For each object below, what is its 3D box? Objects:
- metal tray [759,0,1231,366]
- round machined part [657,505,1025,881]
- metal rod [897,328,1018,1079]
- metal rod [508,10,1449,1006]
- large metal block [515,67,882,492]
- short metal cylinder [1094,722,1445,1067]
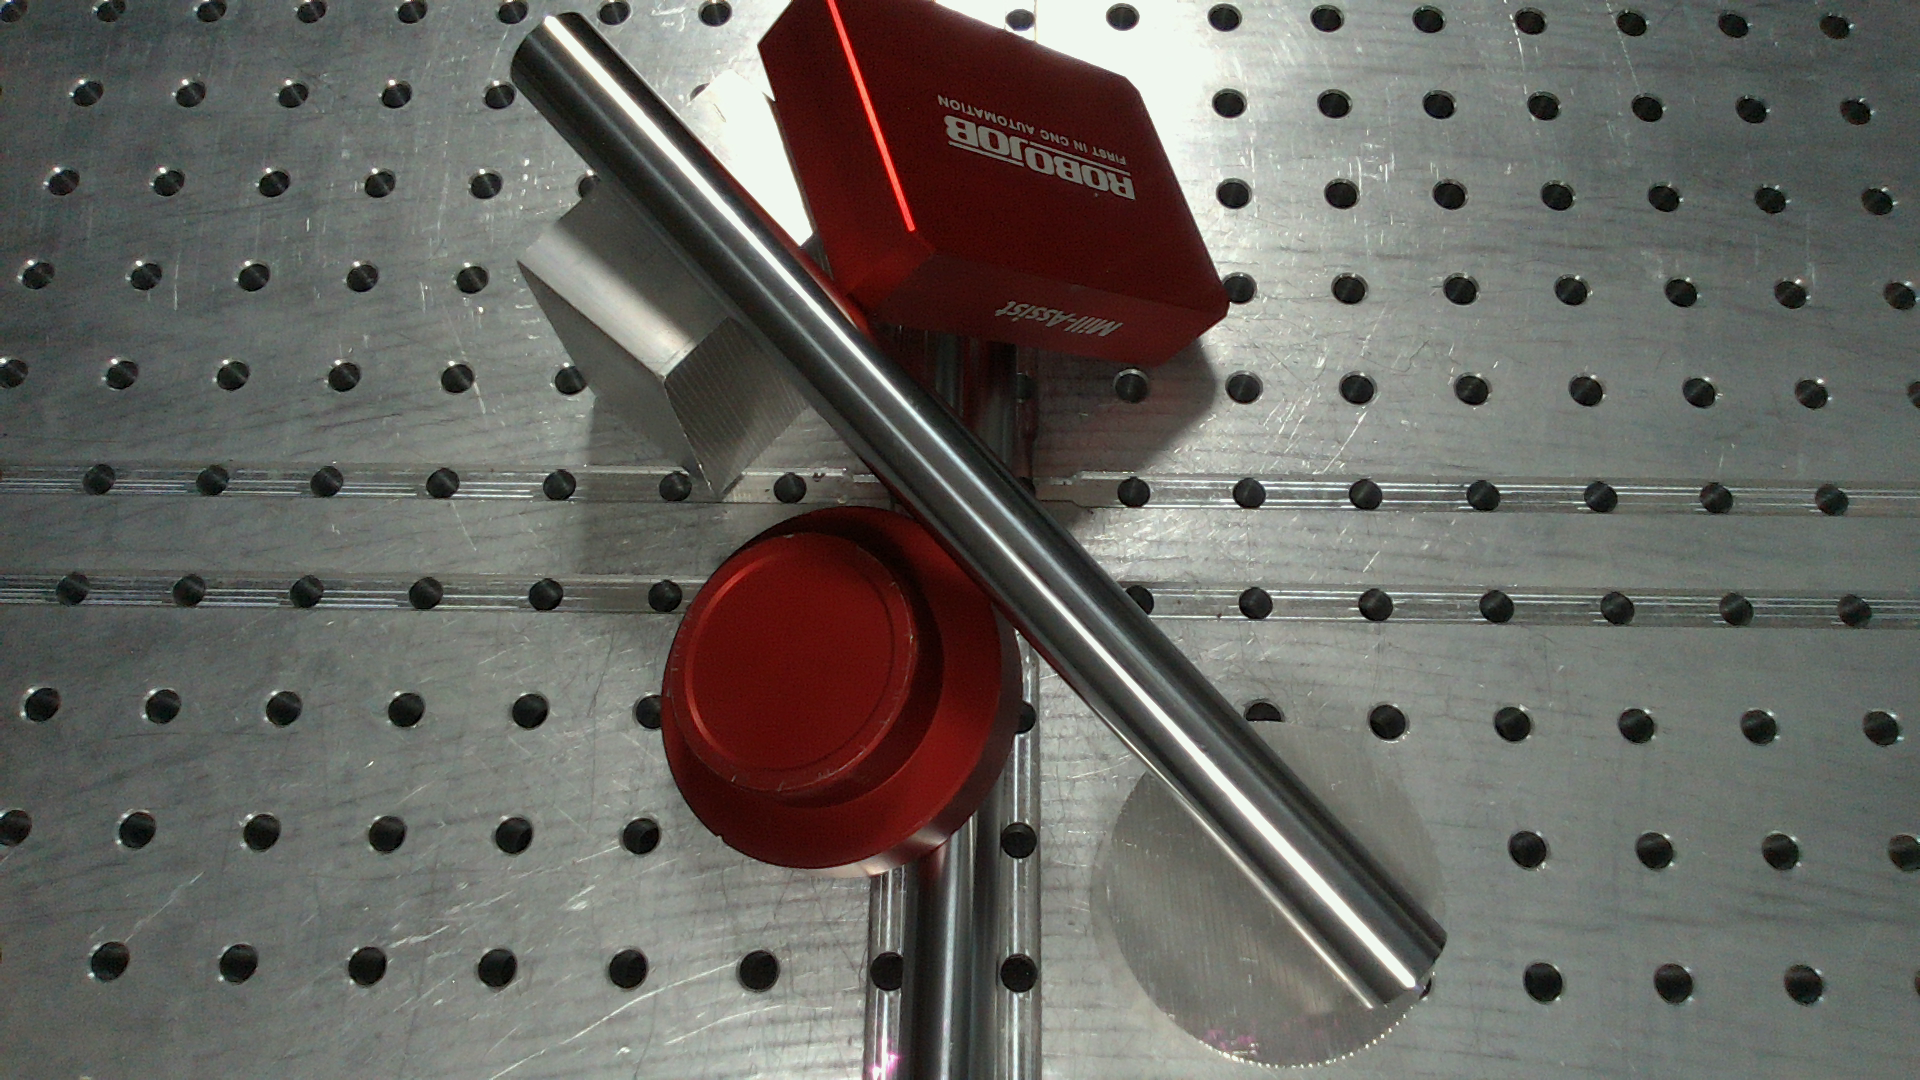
[{"bbox_3d":[0.014,-0.101,0.390,0.131,0.030,0.090,1,62,-45],"label":"metal tray"},{"bbox_3d":[-0.035,0.036,0.358,0.098,0.042,0.098,-6,69,16],"label":"round machined part"},{"bbox_3d":[0.002,0.017,0.390,0.025,0.025,0.300,2,70,1],"label":"metal rod"},{"bbox_3d":[-0.001,-0.013,0.327,0.025,0.025,0.300,-41,83,-13],"label":"metal rod"},{"bbox_3d":[-0.069,-0.071,0.394,0.050,0.080,0.080,39,75,13],"label":"large metal block"},{"bbox_3d":[0.076,0.091,0.351,0.080,0.050,0.080,0,70,0],"label":"short metal cylinder"}]
